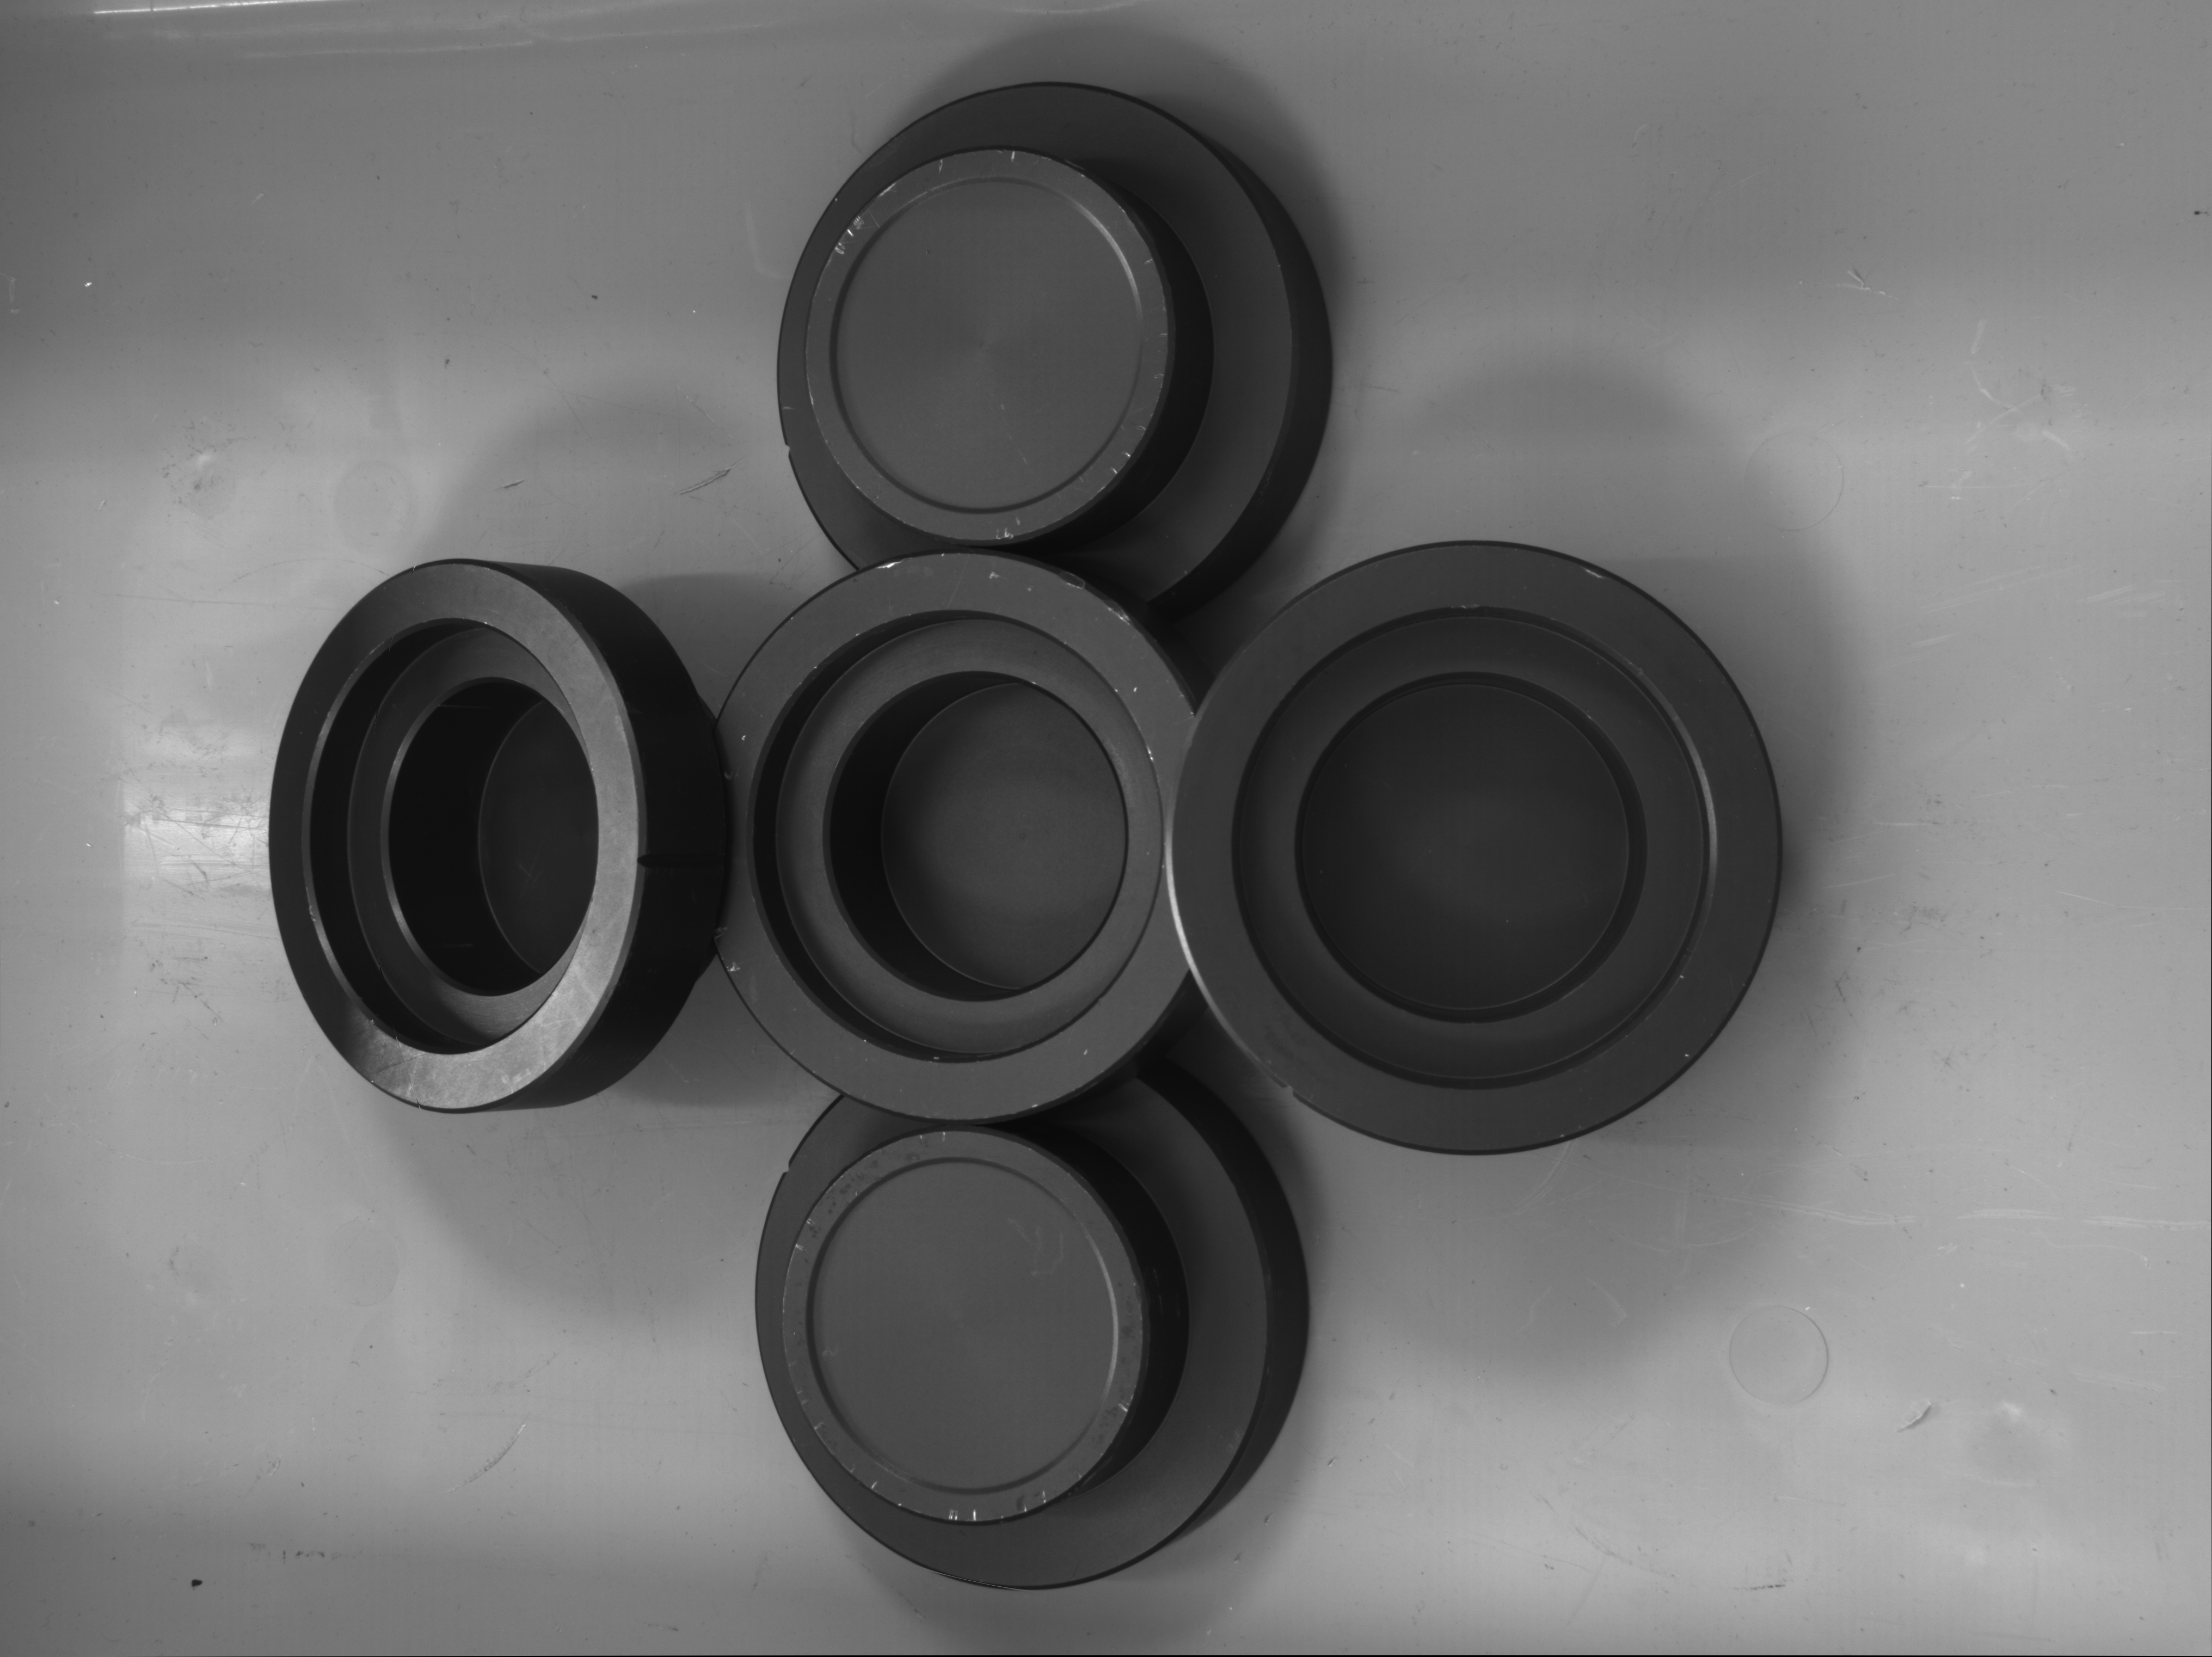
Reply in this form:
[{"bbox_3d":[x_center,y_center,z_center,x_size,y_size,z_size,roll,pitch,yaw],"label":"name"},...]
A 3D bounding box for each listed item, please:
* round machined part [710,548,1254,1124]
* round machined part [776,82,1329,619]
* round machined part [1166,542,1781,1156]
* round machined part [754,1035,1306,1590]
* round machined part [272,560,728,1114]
[{"bbox_3d":[-0.019,0.001,0.642,0.098,0.042,0.098,0,90,20],"label":"round machined part"},{"bbox_3d":[-0.014,-0.082,0.641,0.098,0.042,0.098,0,90,20],"label":"round machined part"},{"bbox_3d":[0.060,0.003,0.605,0.098,0.042,0.098,0,90,3],"label":"round machined part"},{"bbox_3d":[-0.018,0.084,0.642,0.098,0.042,0.098,0,90,20],"label":"round machined part"},{"bbox_3d":[-0.103,0.002,0.665,0.098,0.042,0.098,0,89,38],"label":"round machined part"}]
